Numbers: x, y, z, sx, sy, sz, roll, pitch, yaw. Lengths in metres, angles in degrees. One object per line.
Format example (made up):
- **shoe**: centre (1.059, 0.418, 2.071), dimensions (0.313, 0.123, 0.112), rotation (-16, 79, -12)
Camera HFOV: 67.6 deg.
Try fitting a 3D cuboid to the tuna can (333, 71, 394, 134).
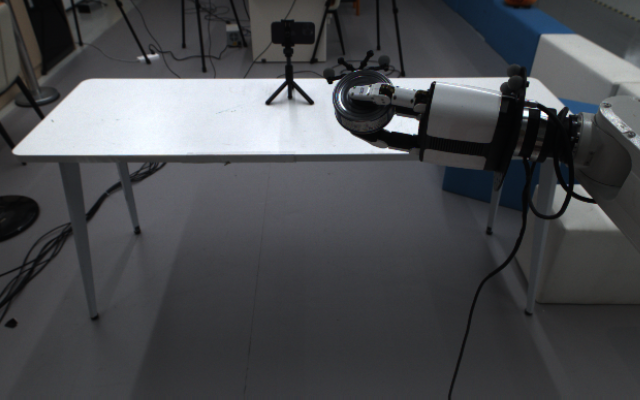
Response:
- **tuna can**: centre (0.064, -0.131, 0.662), dimensions (0.085, 0.034, 0.085), rotation (-4, 68, 9)
